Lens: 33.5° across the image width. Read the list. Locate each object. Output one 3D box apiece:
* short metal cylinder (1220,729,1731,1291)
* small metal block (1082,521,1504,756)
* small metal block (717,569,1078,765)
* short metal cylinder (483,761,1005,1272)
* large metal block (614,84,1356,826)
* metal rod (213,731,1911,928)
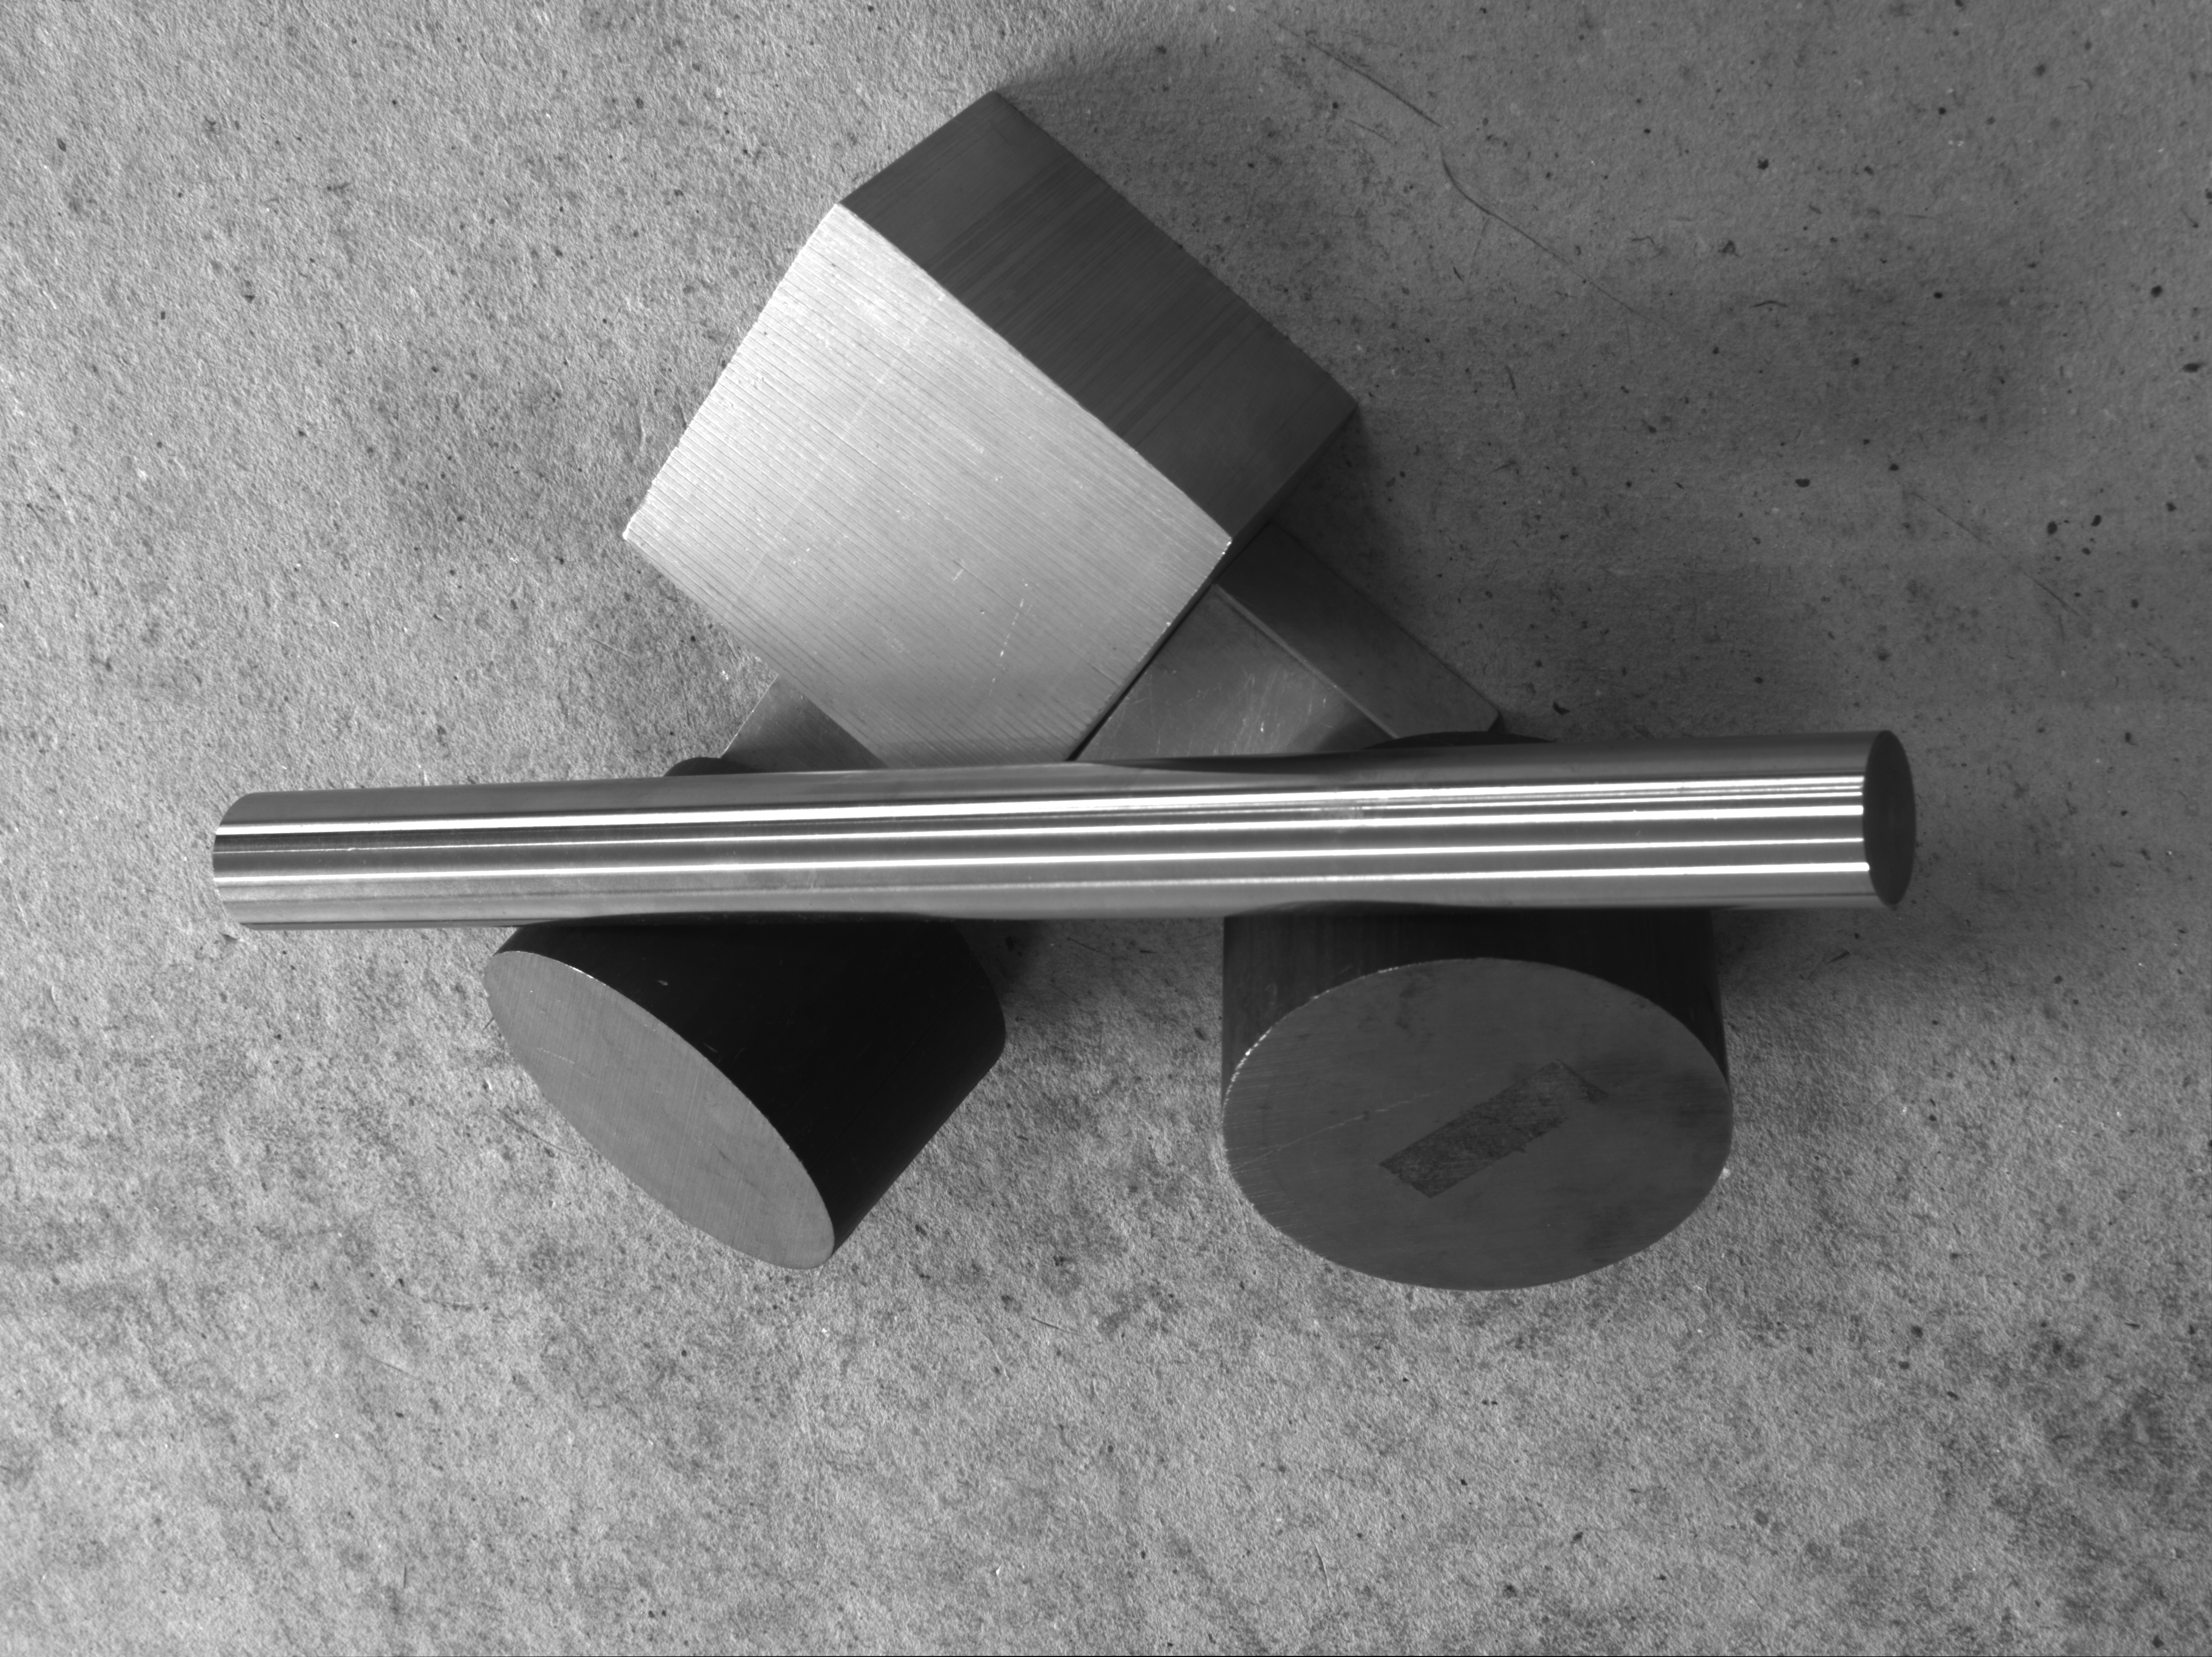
[{"bbox_3d":[0.059,0.030,0.596,0.080,0.050,0.080,2,134,2],"label":"short metal cylinder"},{"bbox_3d":[0.030,-0.014,0.618,0.050,0.025,0.050,40,129,1],"label":"small metal block"},{"bbox_3d":[-0.034,-0.016,0.652,0.050,0.025,0.050,40,128,1],"label":"small metal block"},{"bbox_3d":[-0.065,0.034,0.664,0.080,0.050,0.080,32,153,19],"label":"short metal cylinder"},{"bbox_3d":[-0.020,-0.059,0.599,0.080,0.050,0.080,41,129,1],"label":"large metal block"},{"bbox_3d":[-0.021,0.002,0.589,0.299,0.025,0.025,-1,118,29],"label":"metal rod"}]
